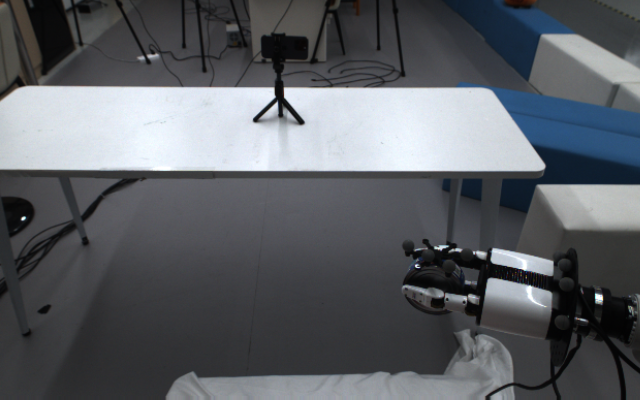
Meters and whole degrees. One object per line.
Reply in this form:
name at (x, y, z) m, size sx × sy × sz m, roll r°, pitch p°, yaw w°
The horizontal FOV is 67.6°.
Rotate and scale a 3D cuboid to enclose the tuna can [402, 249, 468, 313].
tuna can at (0.167, 0.118, 0.698) m, size 0.085 × 0.085 × 0.034 m, roll 13°, pitch 30°, yaw 16°
